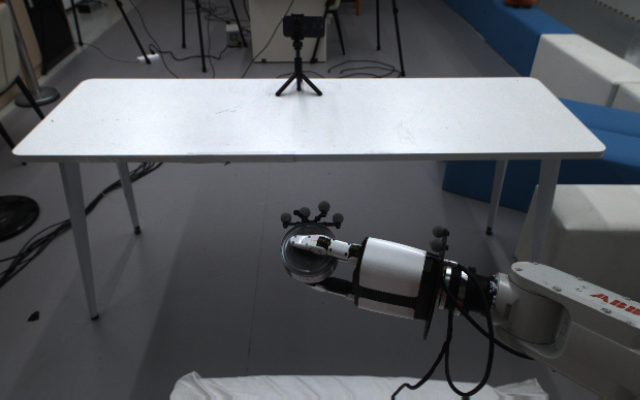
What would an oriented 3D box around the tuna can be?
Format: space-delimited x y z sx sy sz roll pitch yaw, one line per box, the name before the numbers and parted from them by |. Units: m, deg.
tuna can | -0.013 0.082 0.708 0.085 0.034 0.085 -1 58 2
